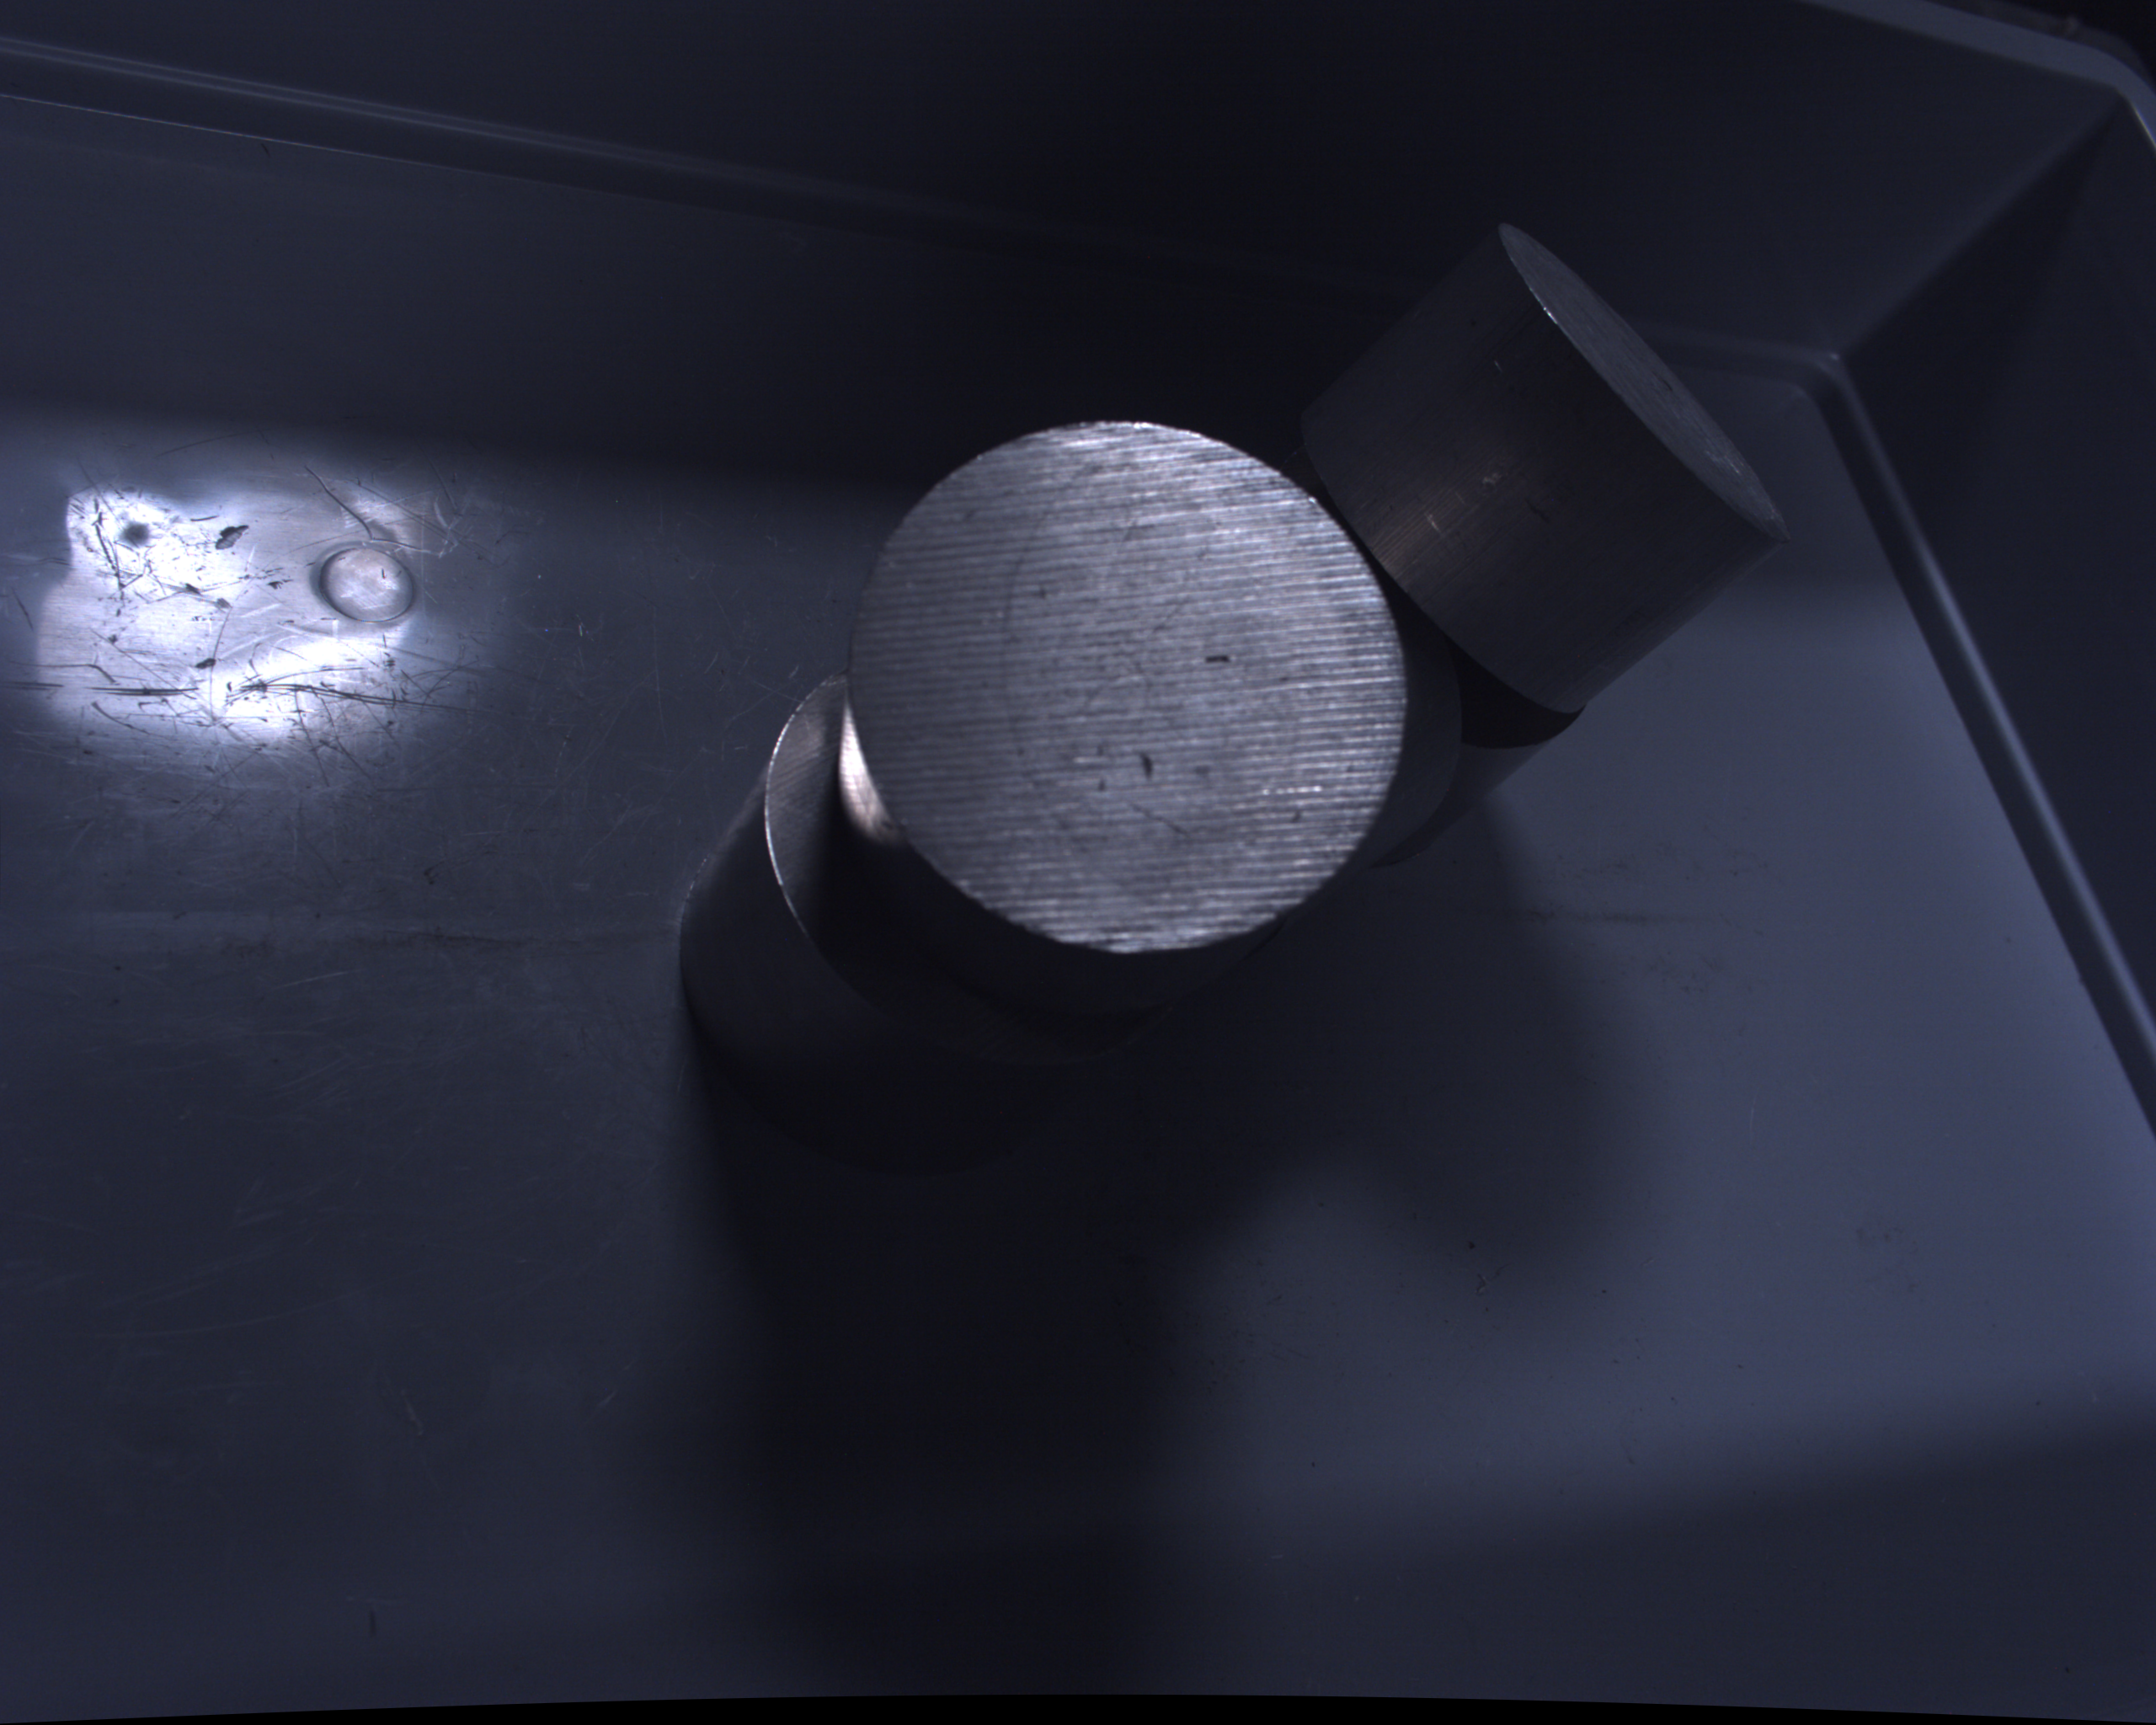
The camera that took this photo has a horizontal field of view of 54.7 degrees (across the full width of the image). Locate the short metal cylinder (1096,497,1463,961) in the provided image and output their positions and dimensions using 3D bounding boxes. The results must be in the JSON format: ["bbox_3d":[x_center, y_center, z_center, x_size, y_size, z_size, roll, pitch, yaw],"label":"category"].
[{"bbox_3d":[0.026,-0.026,0.400,0.050,0.080,0.080,-34,81,-38],"label":"short metal cylinder"}]

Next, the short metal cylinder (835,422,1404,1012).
[{"bbox_3d":[0.004,-0.020,0.321,0.081,0.050,0.080,2,75,-8],"label":"short metal cylinder"}]

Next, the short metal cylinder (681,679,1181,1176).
[{"bbox_3d":[-0.024,0.009,0.370,0.081,0.050,0.080,14,56,-21],"label":"short metal cylinder"}]

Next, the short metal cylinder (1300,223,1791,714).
[{"bbox_3d":[0.089,-0.075,0.400,0.080,0.050,0.080,35,29,-23],"label":"short metal cylinder"}]

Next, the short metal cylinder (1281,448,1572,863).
[{"bbox_3d":[0.063,-0.046,0.451,0.081,0.050,0.080,14,56,-21],"label":"short metal cylinder"}]
